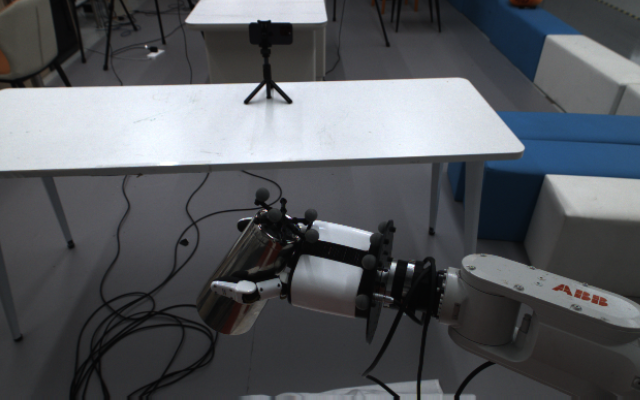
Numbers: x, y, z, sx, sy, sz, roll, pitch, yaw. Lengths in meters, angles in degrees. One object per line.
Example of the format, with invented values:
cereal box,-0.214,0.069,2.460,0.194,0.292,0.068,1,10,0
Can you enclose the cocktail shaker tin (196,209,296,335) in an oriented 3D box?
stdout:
cocktail shaker tin,-0.092,0.089,0.650,0.093,0.170,0.093,26,32,-17
